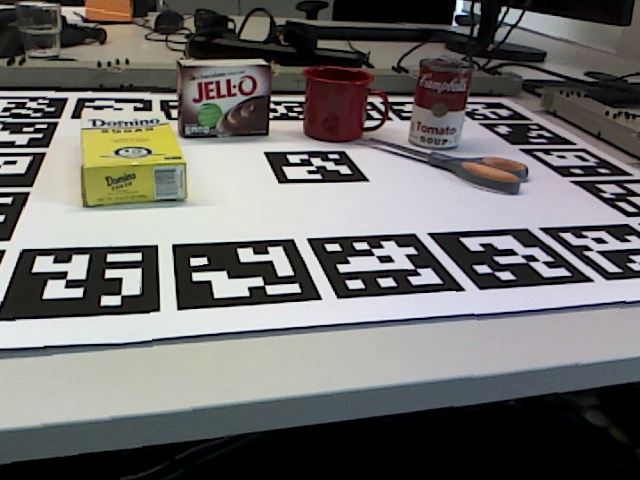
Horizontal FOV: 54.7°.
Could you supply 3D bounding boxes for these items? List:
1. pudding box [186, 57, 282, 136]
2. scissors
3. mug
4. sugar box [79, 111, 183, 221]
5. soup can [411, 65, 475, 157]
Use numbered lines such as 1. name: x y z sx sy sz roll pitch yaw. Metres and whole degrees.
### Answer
1. pudding box: -0.109 -0.180 0.770 0.113 0.090 0.039 -7 40 -21
2. scissors: 0.153 -0.087 0.731 0.204 0.016 0.087 24 45 27
3. mug: 0.035 -0.180 0.807 0.118 0.081 0.093 26 39 33
4. sugar box: -0.200 -0.084 0.652 0.092 0.045 0.177 -6 34 -15
5. soup can: 0.157 -0.167 0.799 0.068 0.102 0.068 3 30 -2
